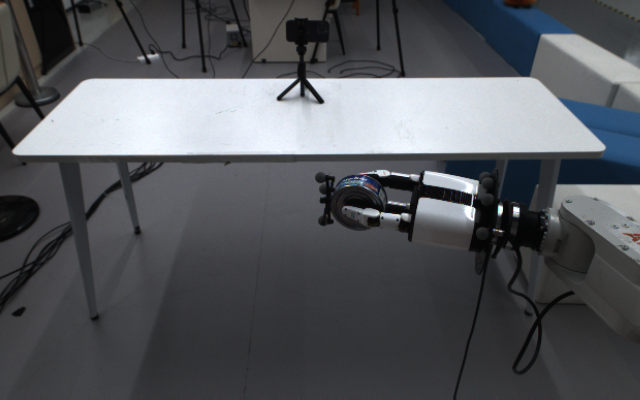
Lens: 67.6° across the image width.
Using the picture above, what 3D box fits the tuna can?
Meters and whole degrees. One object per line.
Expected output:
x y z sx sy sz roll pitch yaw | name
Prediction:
0.062 0.006 0.747 0.085 0.085 0.034 9 32 10 | tuna can
